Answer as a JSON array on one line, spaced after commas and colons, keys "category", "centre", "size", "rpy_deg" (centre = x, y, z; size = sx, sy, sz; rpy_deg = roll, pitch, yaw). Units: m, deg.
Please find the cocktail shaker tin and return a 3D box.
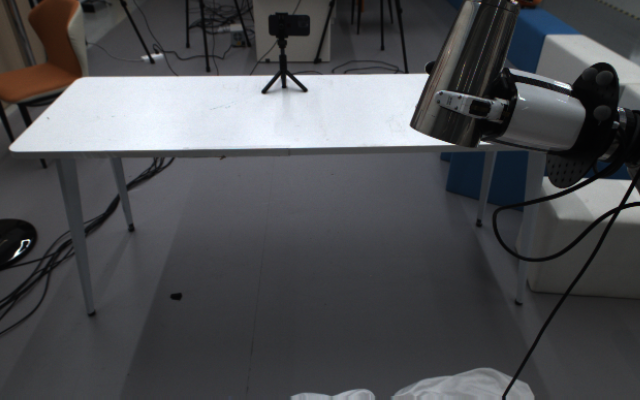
[{"category": "cocktail shaker tin", "centre": [0.183, -0.161, 0.600], "size": [0.093, 0.170, 0.093], "rpy_deg": [14, 20, -5]}]
